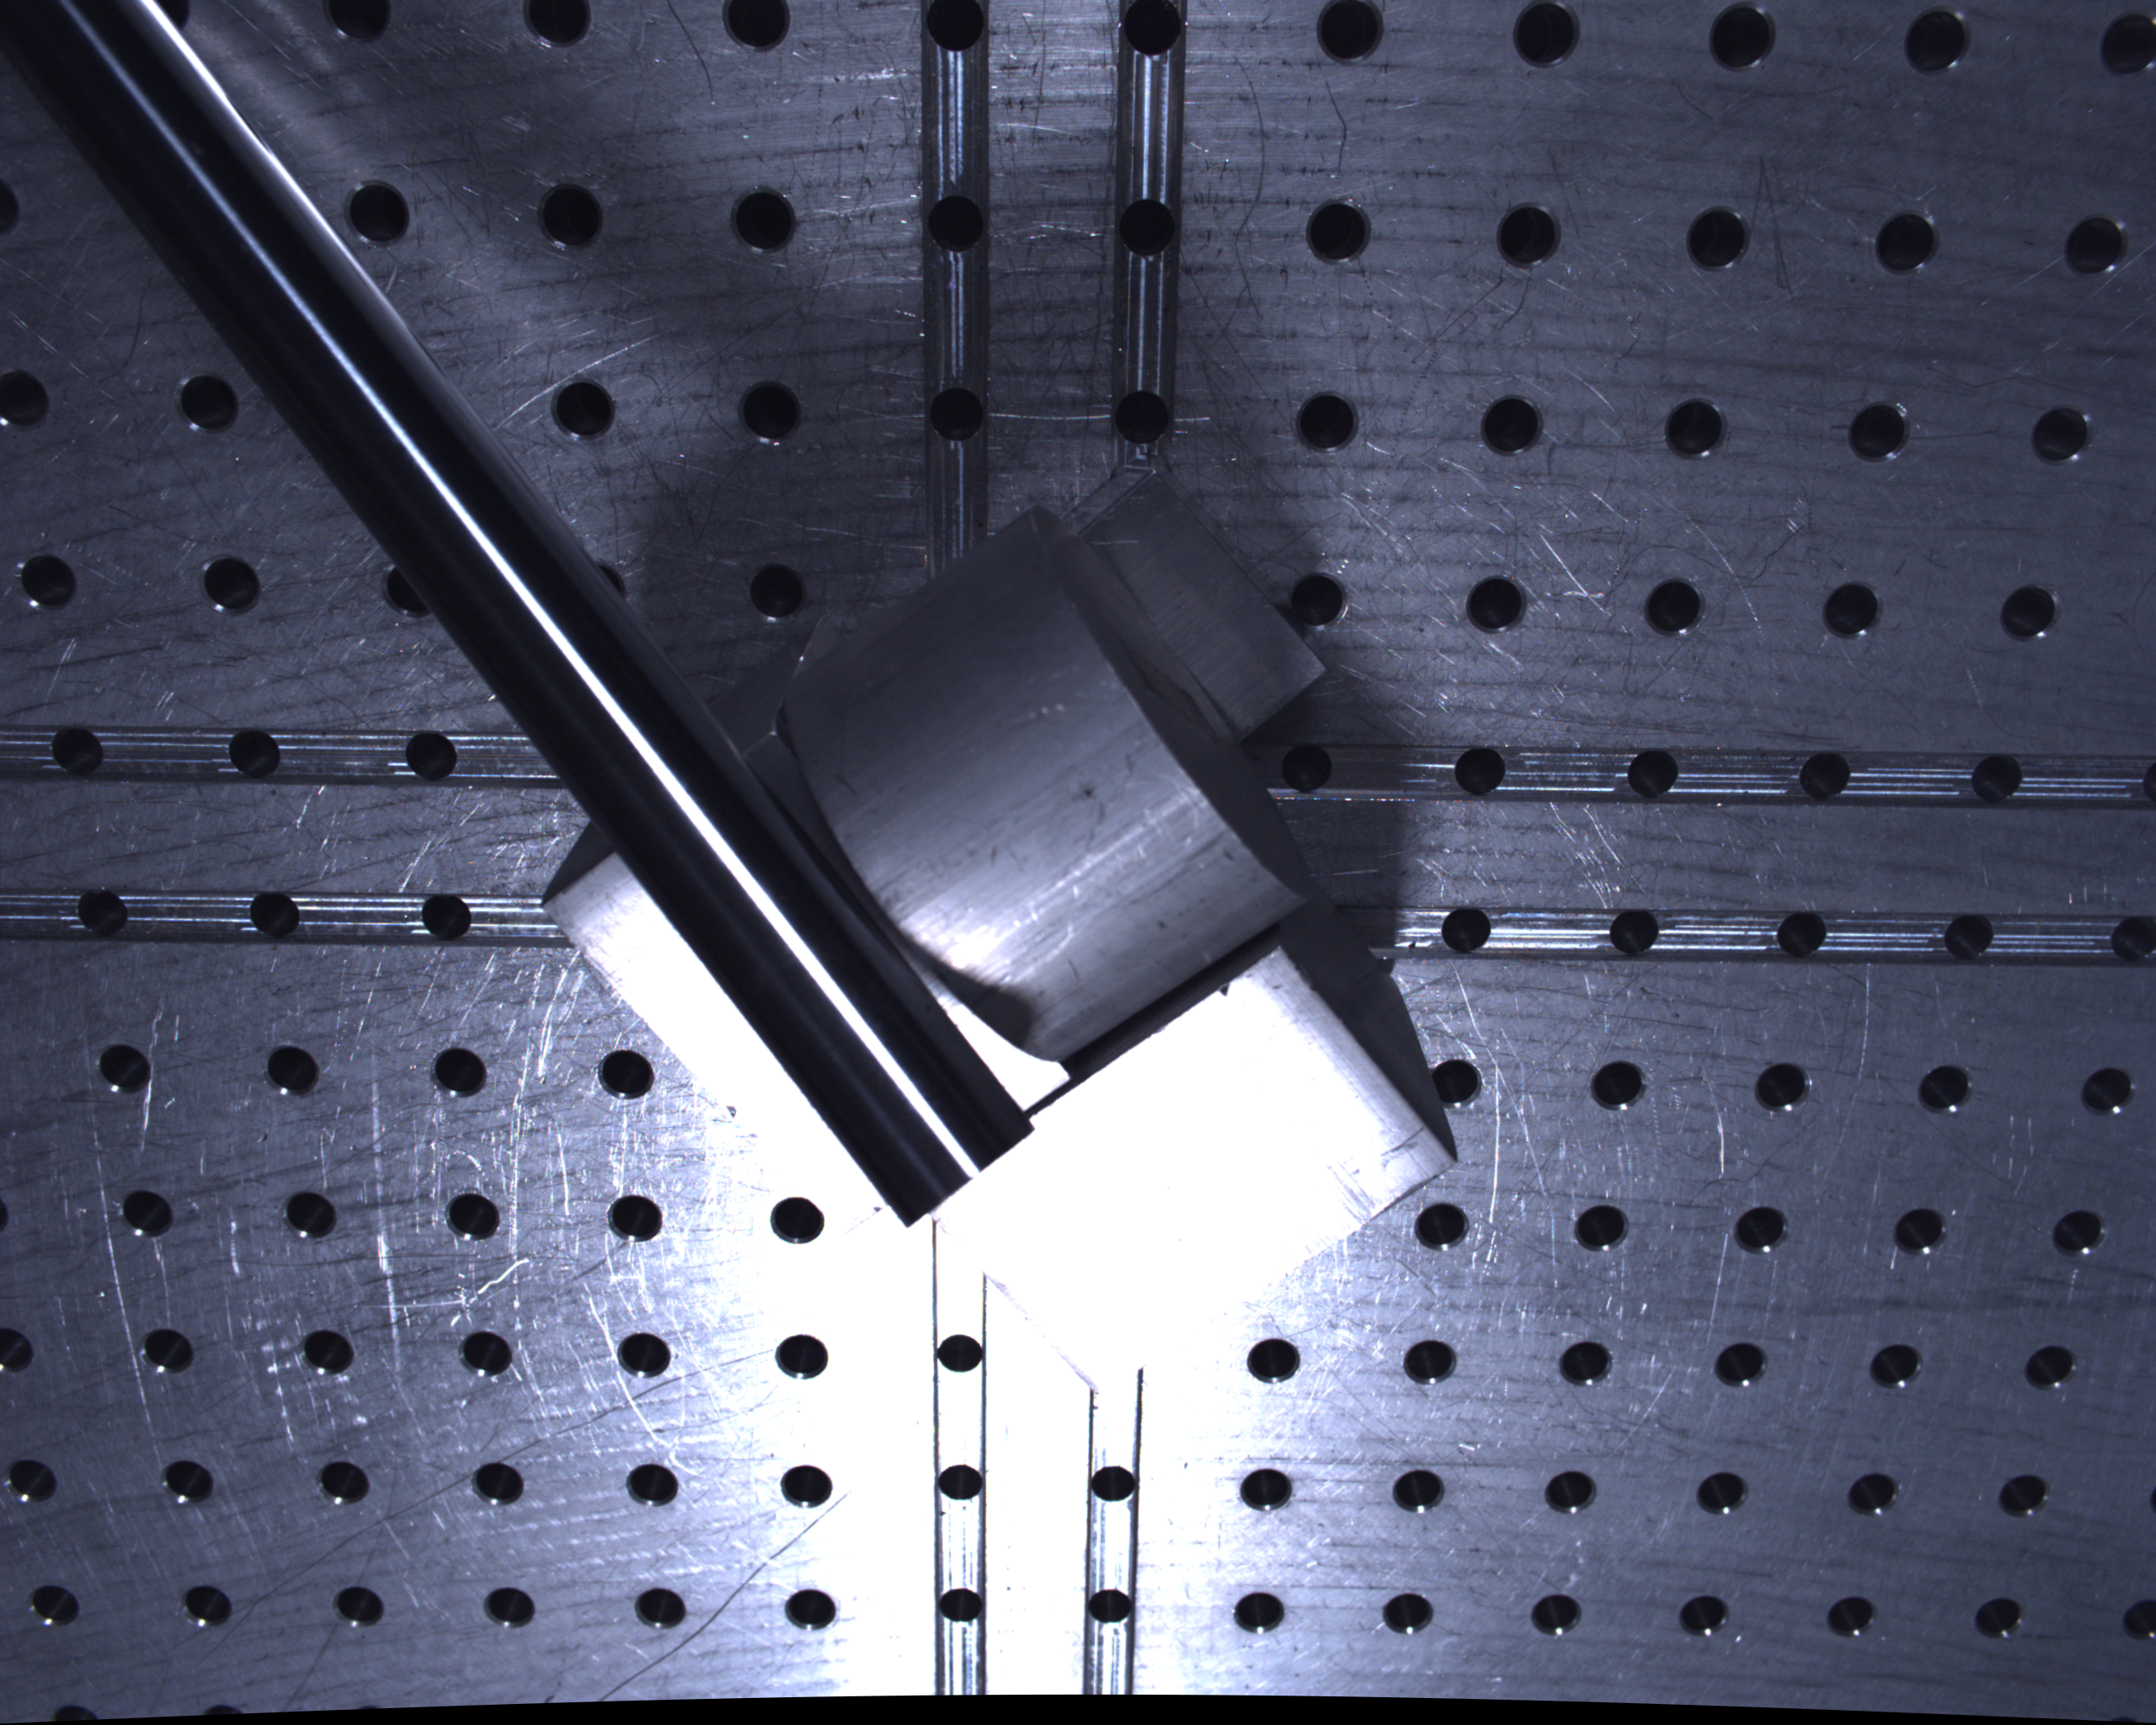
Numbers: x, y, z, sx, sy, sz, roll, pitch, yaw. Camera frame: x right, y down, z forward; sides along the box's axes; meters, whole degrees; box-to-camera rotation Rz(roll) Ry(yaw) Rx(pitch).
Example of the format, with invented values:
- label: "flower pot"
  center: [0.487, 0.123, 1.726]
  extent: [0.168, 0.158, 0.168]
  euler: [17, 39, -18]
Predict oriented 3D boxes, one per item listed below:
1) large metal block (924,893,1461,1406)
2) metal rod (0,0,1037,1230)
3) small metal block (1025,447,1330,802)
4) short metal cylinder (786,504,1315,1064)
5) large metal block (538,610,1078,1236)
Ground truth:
- label: "large metal block"
  center: [0.019, 0.043, 0.398]
  extent: [0.080, 0.080, 0.050]
  euler: [-36, 107, 12]
- label: "metal rod"
  center: [-0.109, -0.069, 0.331]
  extent: [0.025, 0.025, 0.300]
  euler: [-40, 85, 13]
- label: "small metal block"
  center: [0.011, -0.042, 0.399]
  extent: [0.050, 0.025, 0.050]
  euler: [-40, 106, 13]
- label: "short metal cylinder"
  center: [-0.004, -0.013, 0.352]
  extent: [0.050, 0.080, 0.080]
  euler: [-35, 107, 12]
- label: "large metal block"
  center: [-0.045, 0.008, 0.387]
  extent: [0.050, 0.080, 0.080]
  euler: [-36, 107, 12]
